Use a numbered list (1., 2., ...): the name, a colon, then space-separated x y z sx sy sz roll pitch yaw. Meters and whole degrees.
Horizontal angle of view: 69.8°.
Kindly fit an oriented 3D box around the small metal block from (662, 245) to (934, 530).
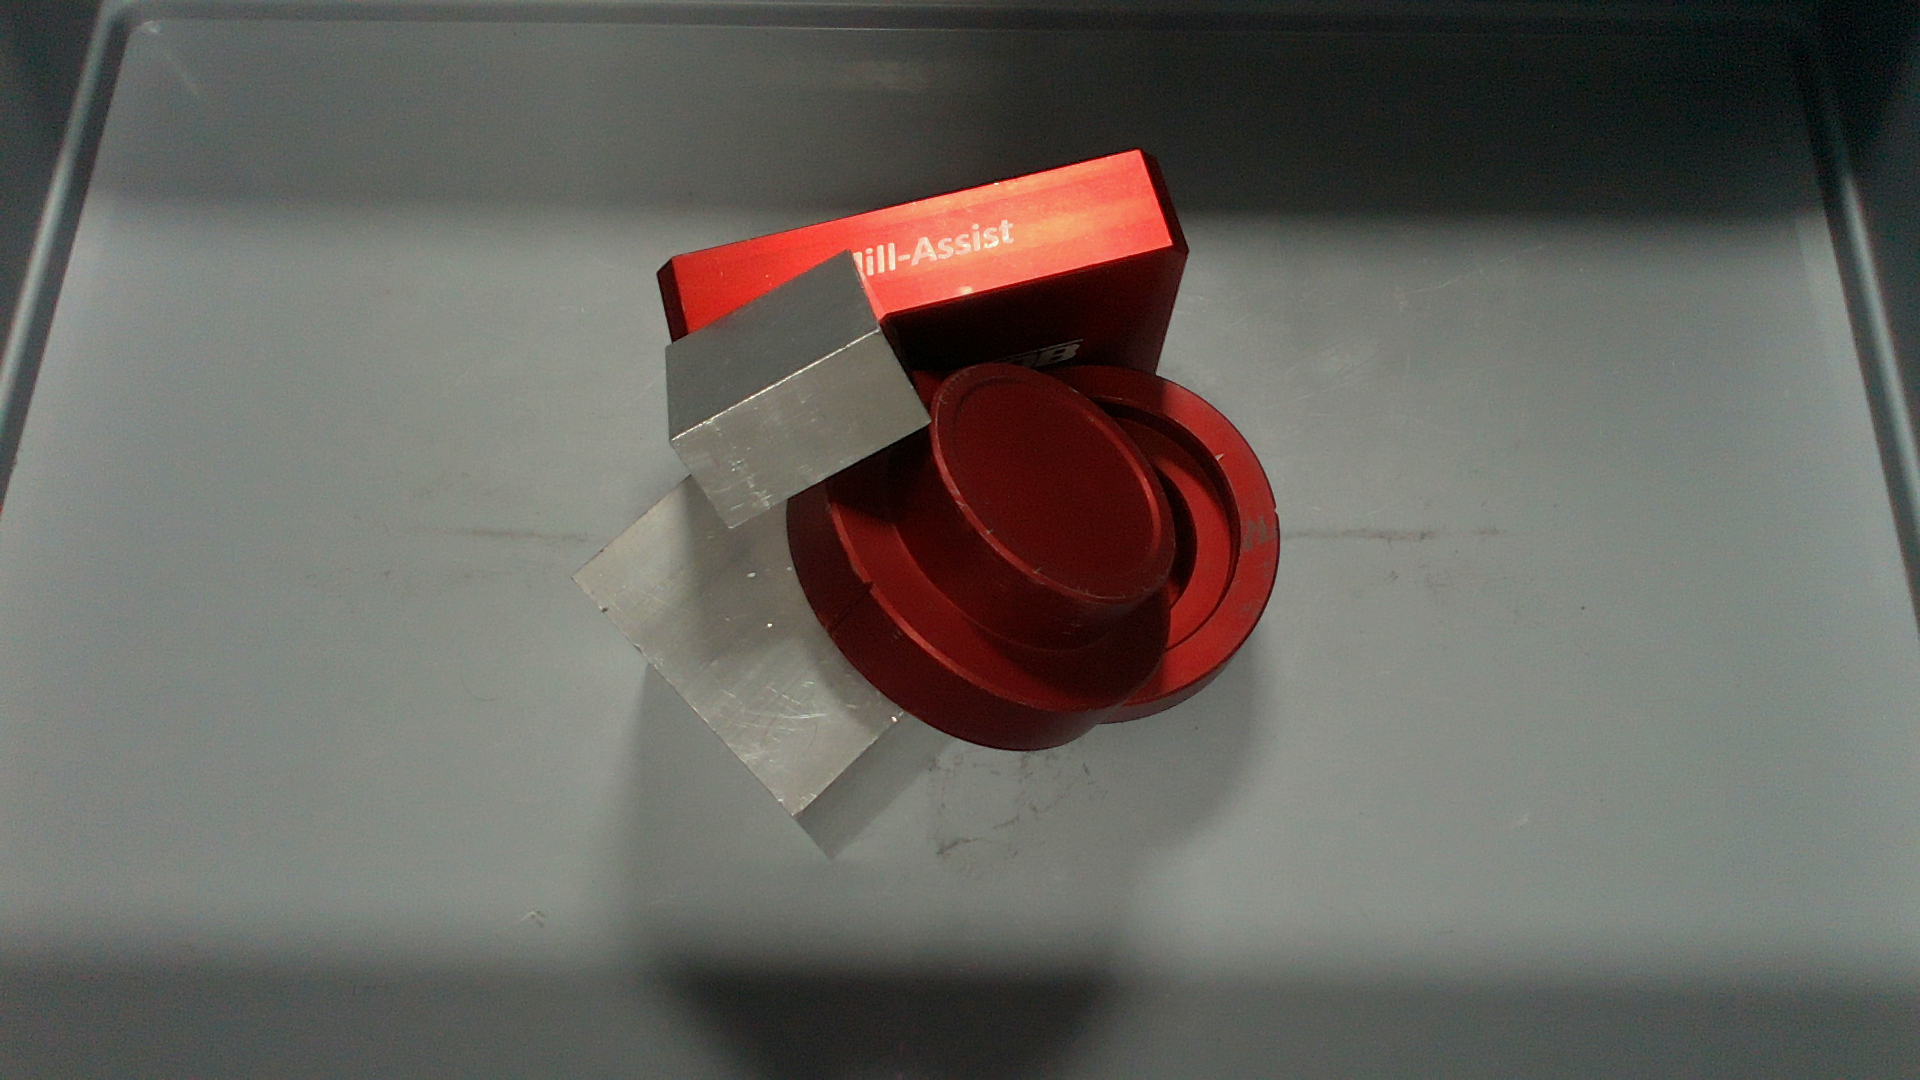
1. small metal block: -0.038 -0.036 0.308 0.050 0.025 0.050 -27 33 4

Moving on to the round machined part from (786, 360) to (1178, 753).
1. round machined part: 0.012 -0.003 0.324 0.098 0.042 0.098 23 43 -24

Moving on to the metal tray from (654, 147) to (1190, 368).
1. metal tray: -0.009 -0.056 0.379 0.130 0.090 0.030 -14 71 -5

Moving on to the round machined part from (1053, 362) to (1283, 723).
1. round machined part: 0.037 0.003 0.384 0.098 0.042 0.098 0 70 0

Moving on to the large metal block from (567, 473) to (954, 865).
1. large metal block: -0.045 0.032 0.353 0.050 0.080 0.080 -42 75 -14
